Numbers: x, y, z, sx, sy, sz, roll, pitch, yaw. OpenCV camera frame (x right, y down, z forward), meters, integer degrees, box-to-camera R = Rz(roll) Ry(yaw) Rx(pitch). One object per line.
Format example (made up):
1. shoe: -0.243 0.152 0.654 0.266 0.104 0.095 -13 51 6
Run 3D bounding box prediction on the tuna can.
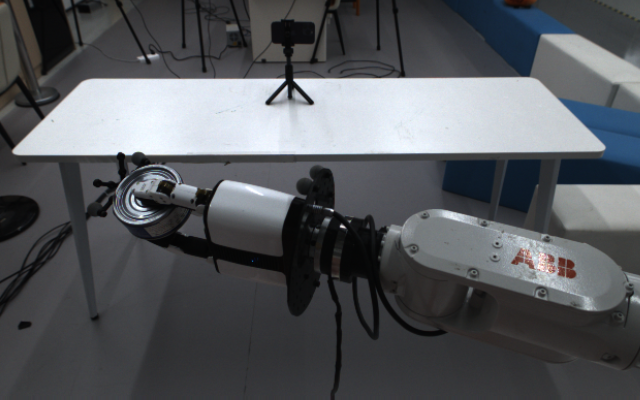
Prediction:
1. tuna can: -0.190 0.006 0.560 0.085 0.034 0.085 -3 59 6
